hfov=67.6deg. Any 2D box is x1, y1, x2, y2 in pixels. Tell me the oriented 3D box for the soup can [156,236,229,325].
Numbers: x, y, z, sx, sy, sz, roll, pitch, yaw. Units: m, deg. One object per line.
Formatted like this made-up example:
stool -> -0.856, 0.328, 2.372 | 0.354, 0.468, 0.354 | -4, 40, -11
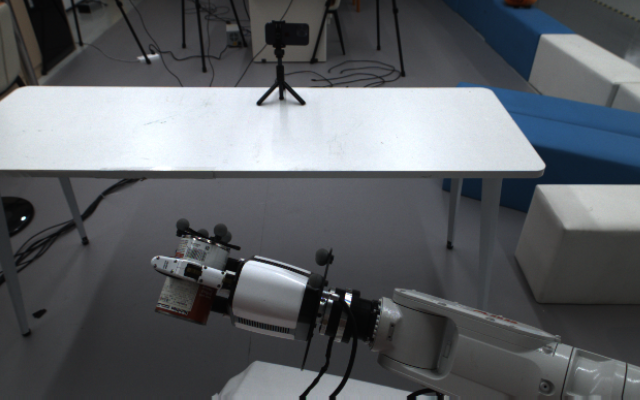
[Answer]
soup can -> -0.162, 0.105, 0.624 | 0.067, 0.067, 0.101 | 11, 72, 13
